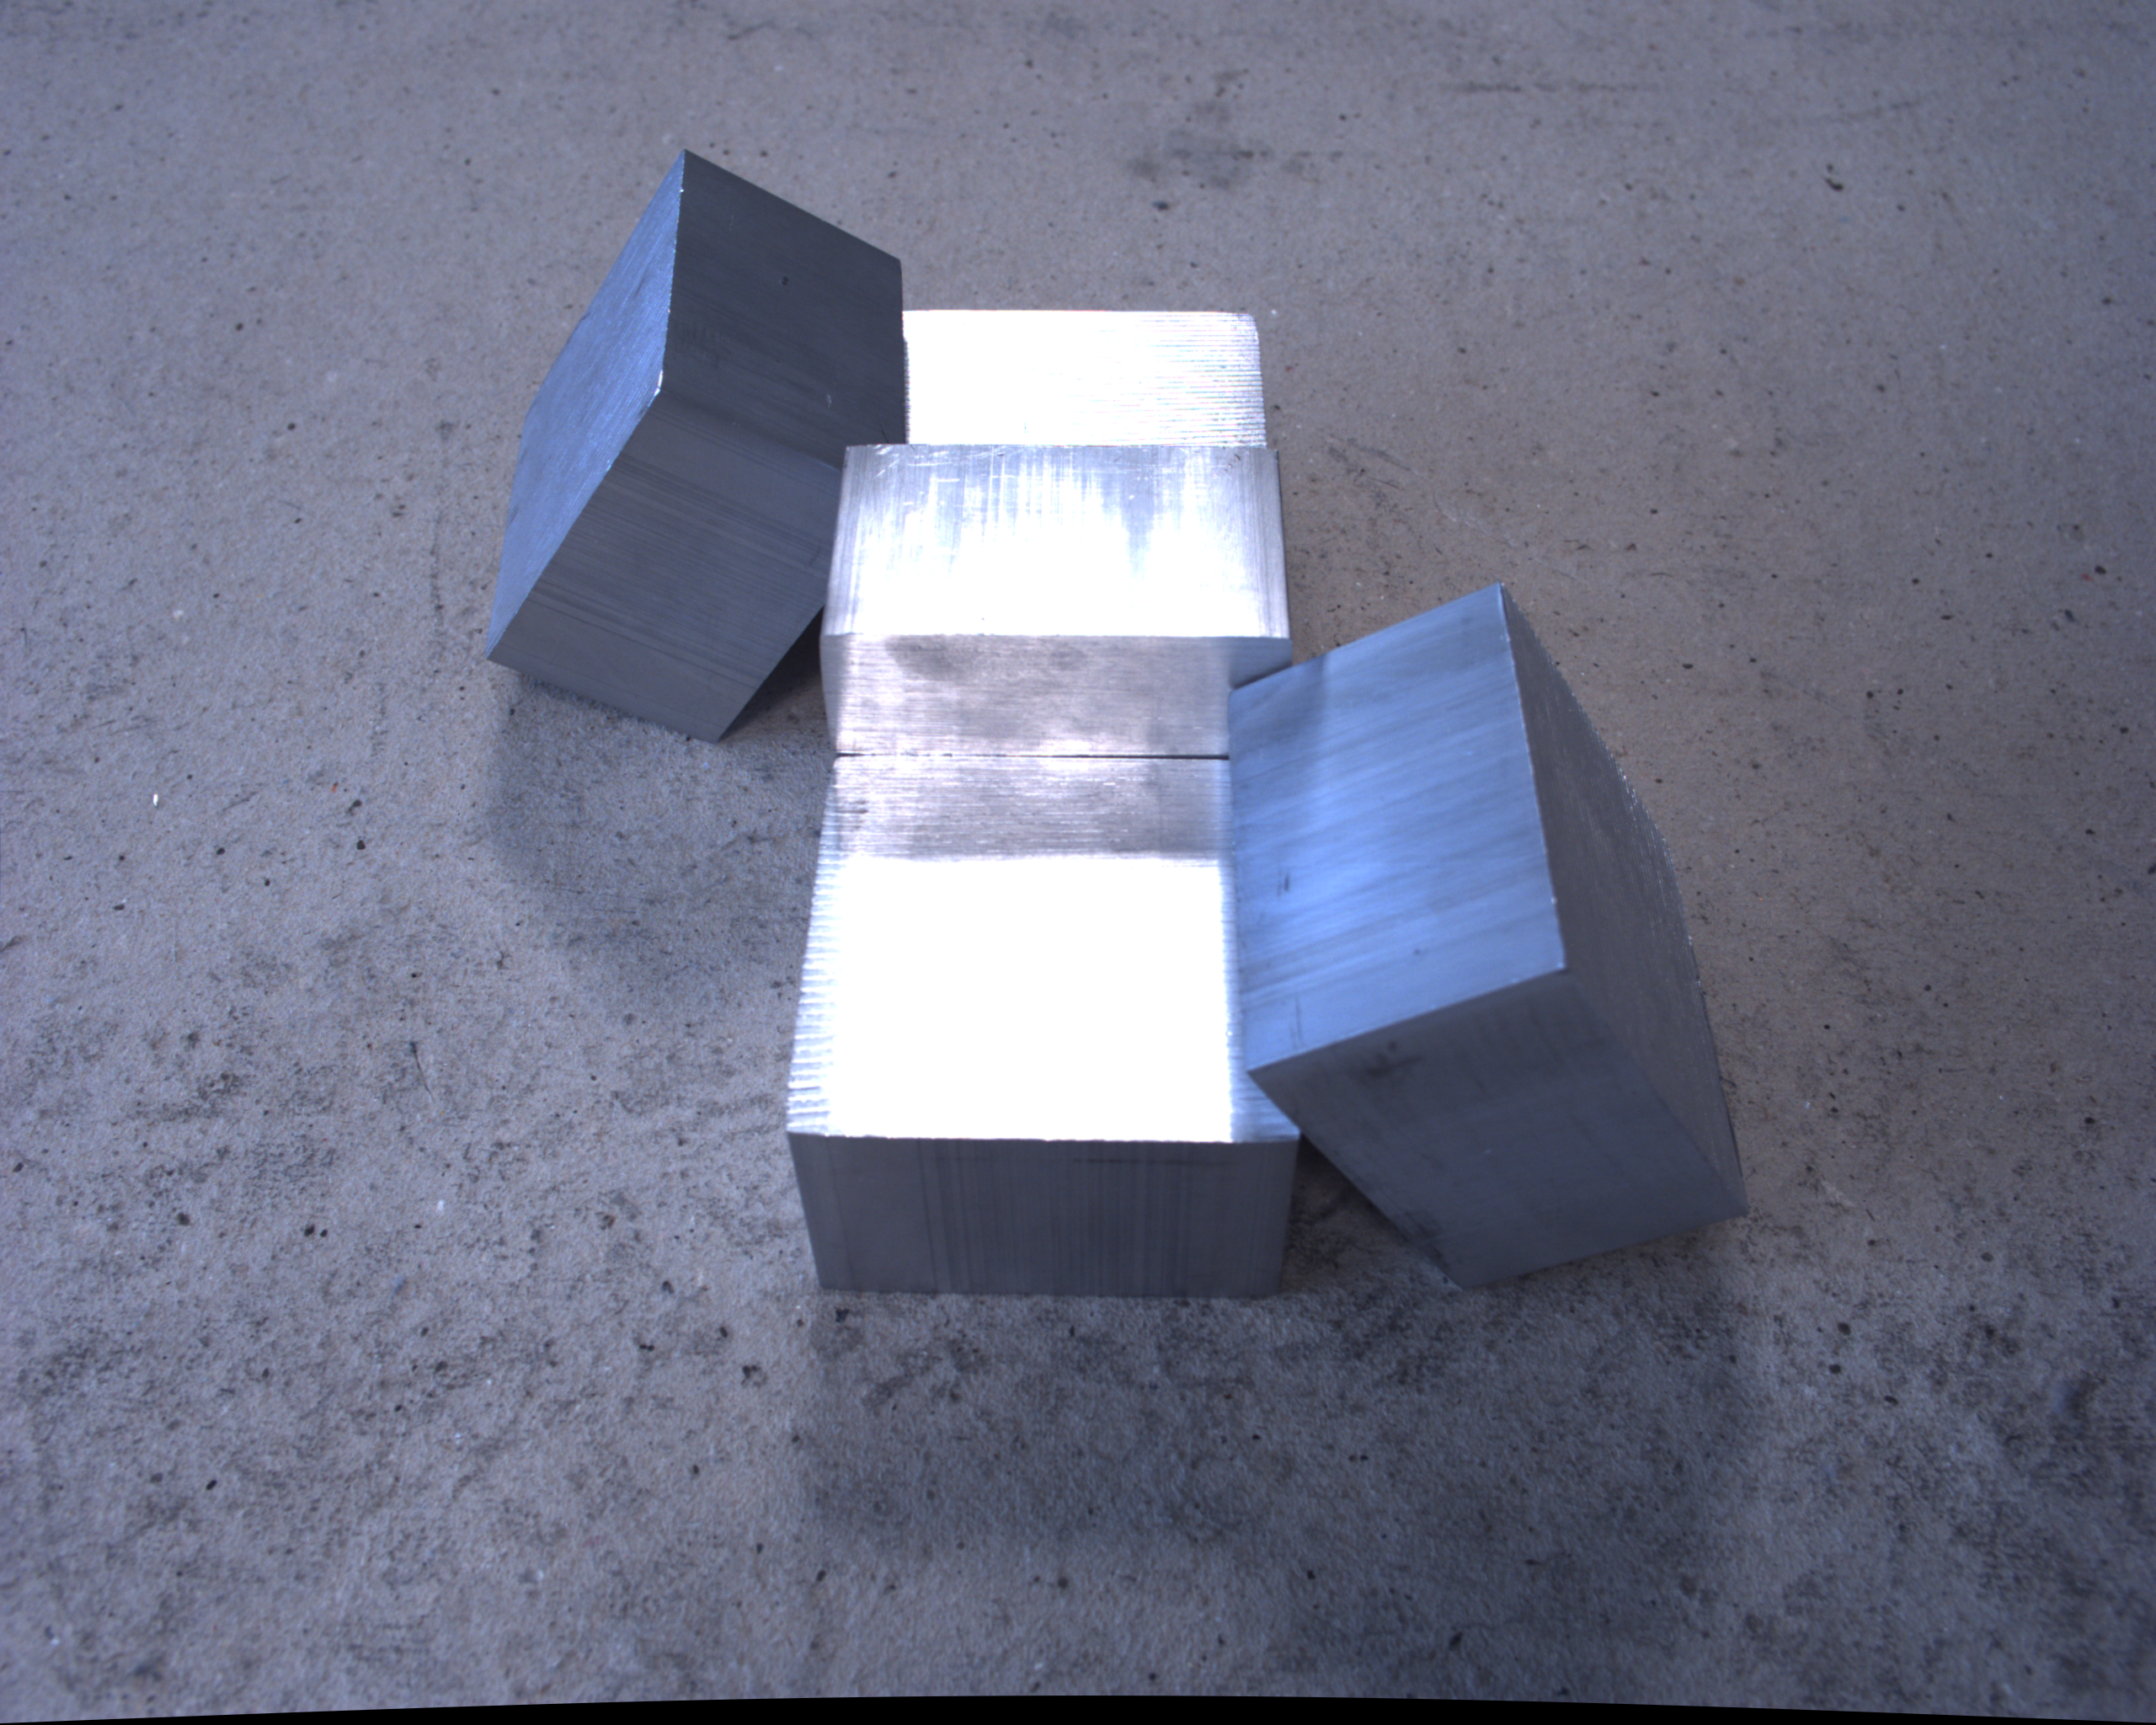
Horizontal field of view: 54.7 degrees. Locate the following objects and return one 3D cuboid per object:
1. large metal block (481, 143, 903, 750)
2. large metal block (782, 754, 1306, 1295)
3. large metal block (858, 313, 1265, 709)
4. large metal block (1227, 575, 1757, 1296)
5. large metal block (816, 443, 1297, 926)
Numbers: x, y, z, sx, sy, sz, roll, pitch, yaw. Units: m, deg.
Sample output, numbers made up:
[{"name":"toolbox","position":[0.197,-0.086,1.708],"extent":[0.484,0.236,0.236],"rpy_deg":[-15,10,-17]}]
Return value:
[{"name":"large metal block","position":[-0.078,-0.084,0.430],"extent":[0.050,0.080,0.080],"rpy_deg":[21,44,-28]},{"name":"large metal block","position":[-0.004,0.028,0.365],"extent":[0.080,0.050,0.080],"rpy_deg":[1,51,1]},{"name":"large metal block","position":[-0.002,-0.073,0.448],"extent":[0.080,0.050,0.080],"rpy_deg":[0,50,0]},{"name":"large metal block","position":[0.068,0.014,0.348],"extent":[0.050,0.080,0.080],"rpy_deg":[-22,45,24]},{"name":"large metal block","position":[-0.003,-0.032,0.396],"extent":[0.080,0.080,0.050],"rpy_deg":[0,50,0]}]
